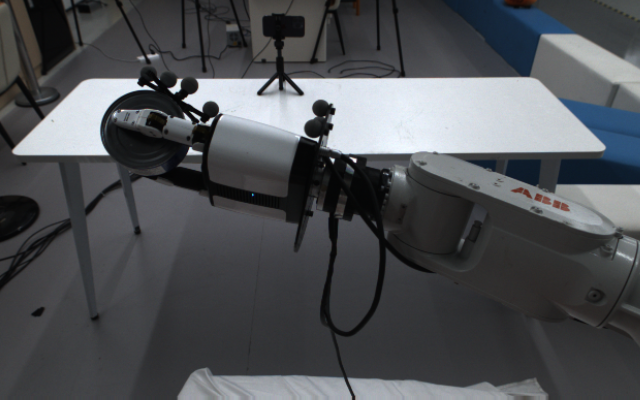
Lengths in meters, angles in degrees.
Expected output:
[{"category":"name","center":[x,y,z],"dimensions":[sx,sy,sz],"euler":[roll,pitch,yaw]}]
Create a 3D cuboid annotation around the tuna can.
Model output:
[{"category":"tuna can","center":[-0.181,-0.069,0.513],"dimensions":[0.085,0.034,0.085],"euler":[1,76,-4]}]
